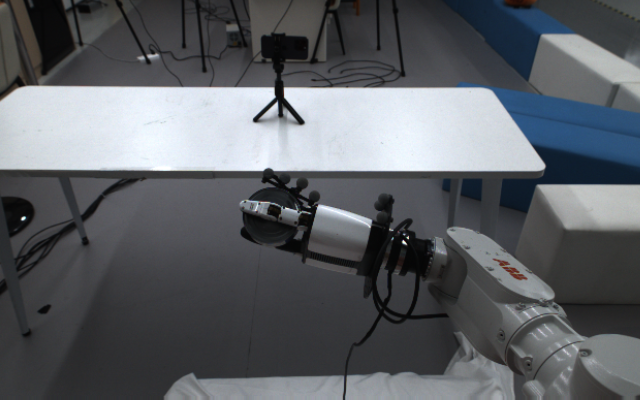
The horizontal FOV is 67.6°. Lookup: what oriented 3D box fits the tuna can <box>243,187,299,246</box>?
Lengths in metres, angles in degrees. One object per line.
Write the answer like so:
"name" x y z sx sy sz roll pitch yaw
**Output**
"tuna can" -0.070 0.025 0.722 0.085 0.034 0.085 0 72 0
